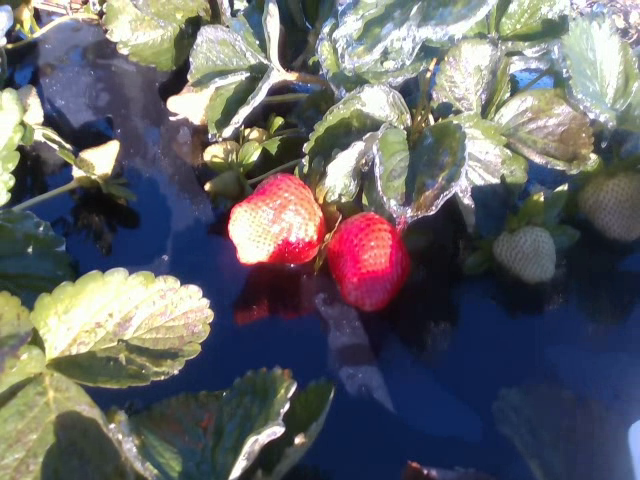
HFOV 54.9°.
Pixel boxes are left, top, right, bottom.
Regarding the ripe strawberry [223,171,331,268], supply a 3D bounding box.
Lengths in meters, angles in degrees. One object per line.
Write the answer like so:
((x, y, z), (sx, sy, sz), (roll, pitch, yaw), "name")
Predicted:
((-0.025, -0.007, 0.332), (0.069, 0.052, 0.040), (-39, -16, -25), "ripe strawberry")

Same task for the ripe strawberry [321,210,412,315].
((0.024, 0.007, 0.312), (0.043, 0.059, 0.040), (-2, -33, 1), "ripe strawberry")
